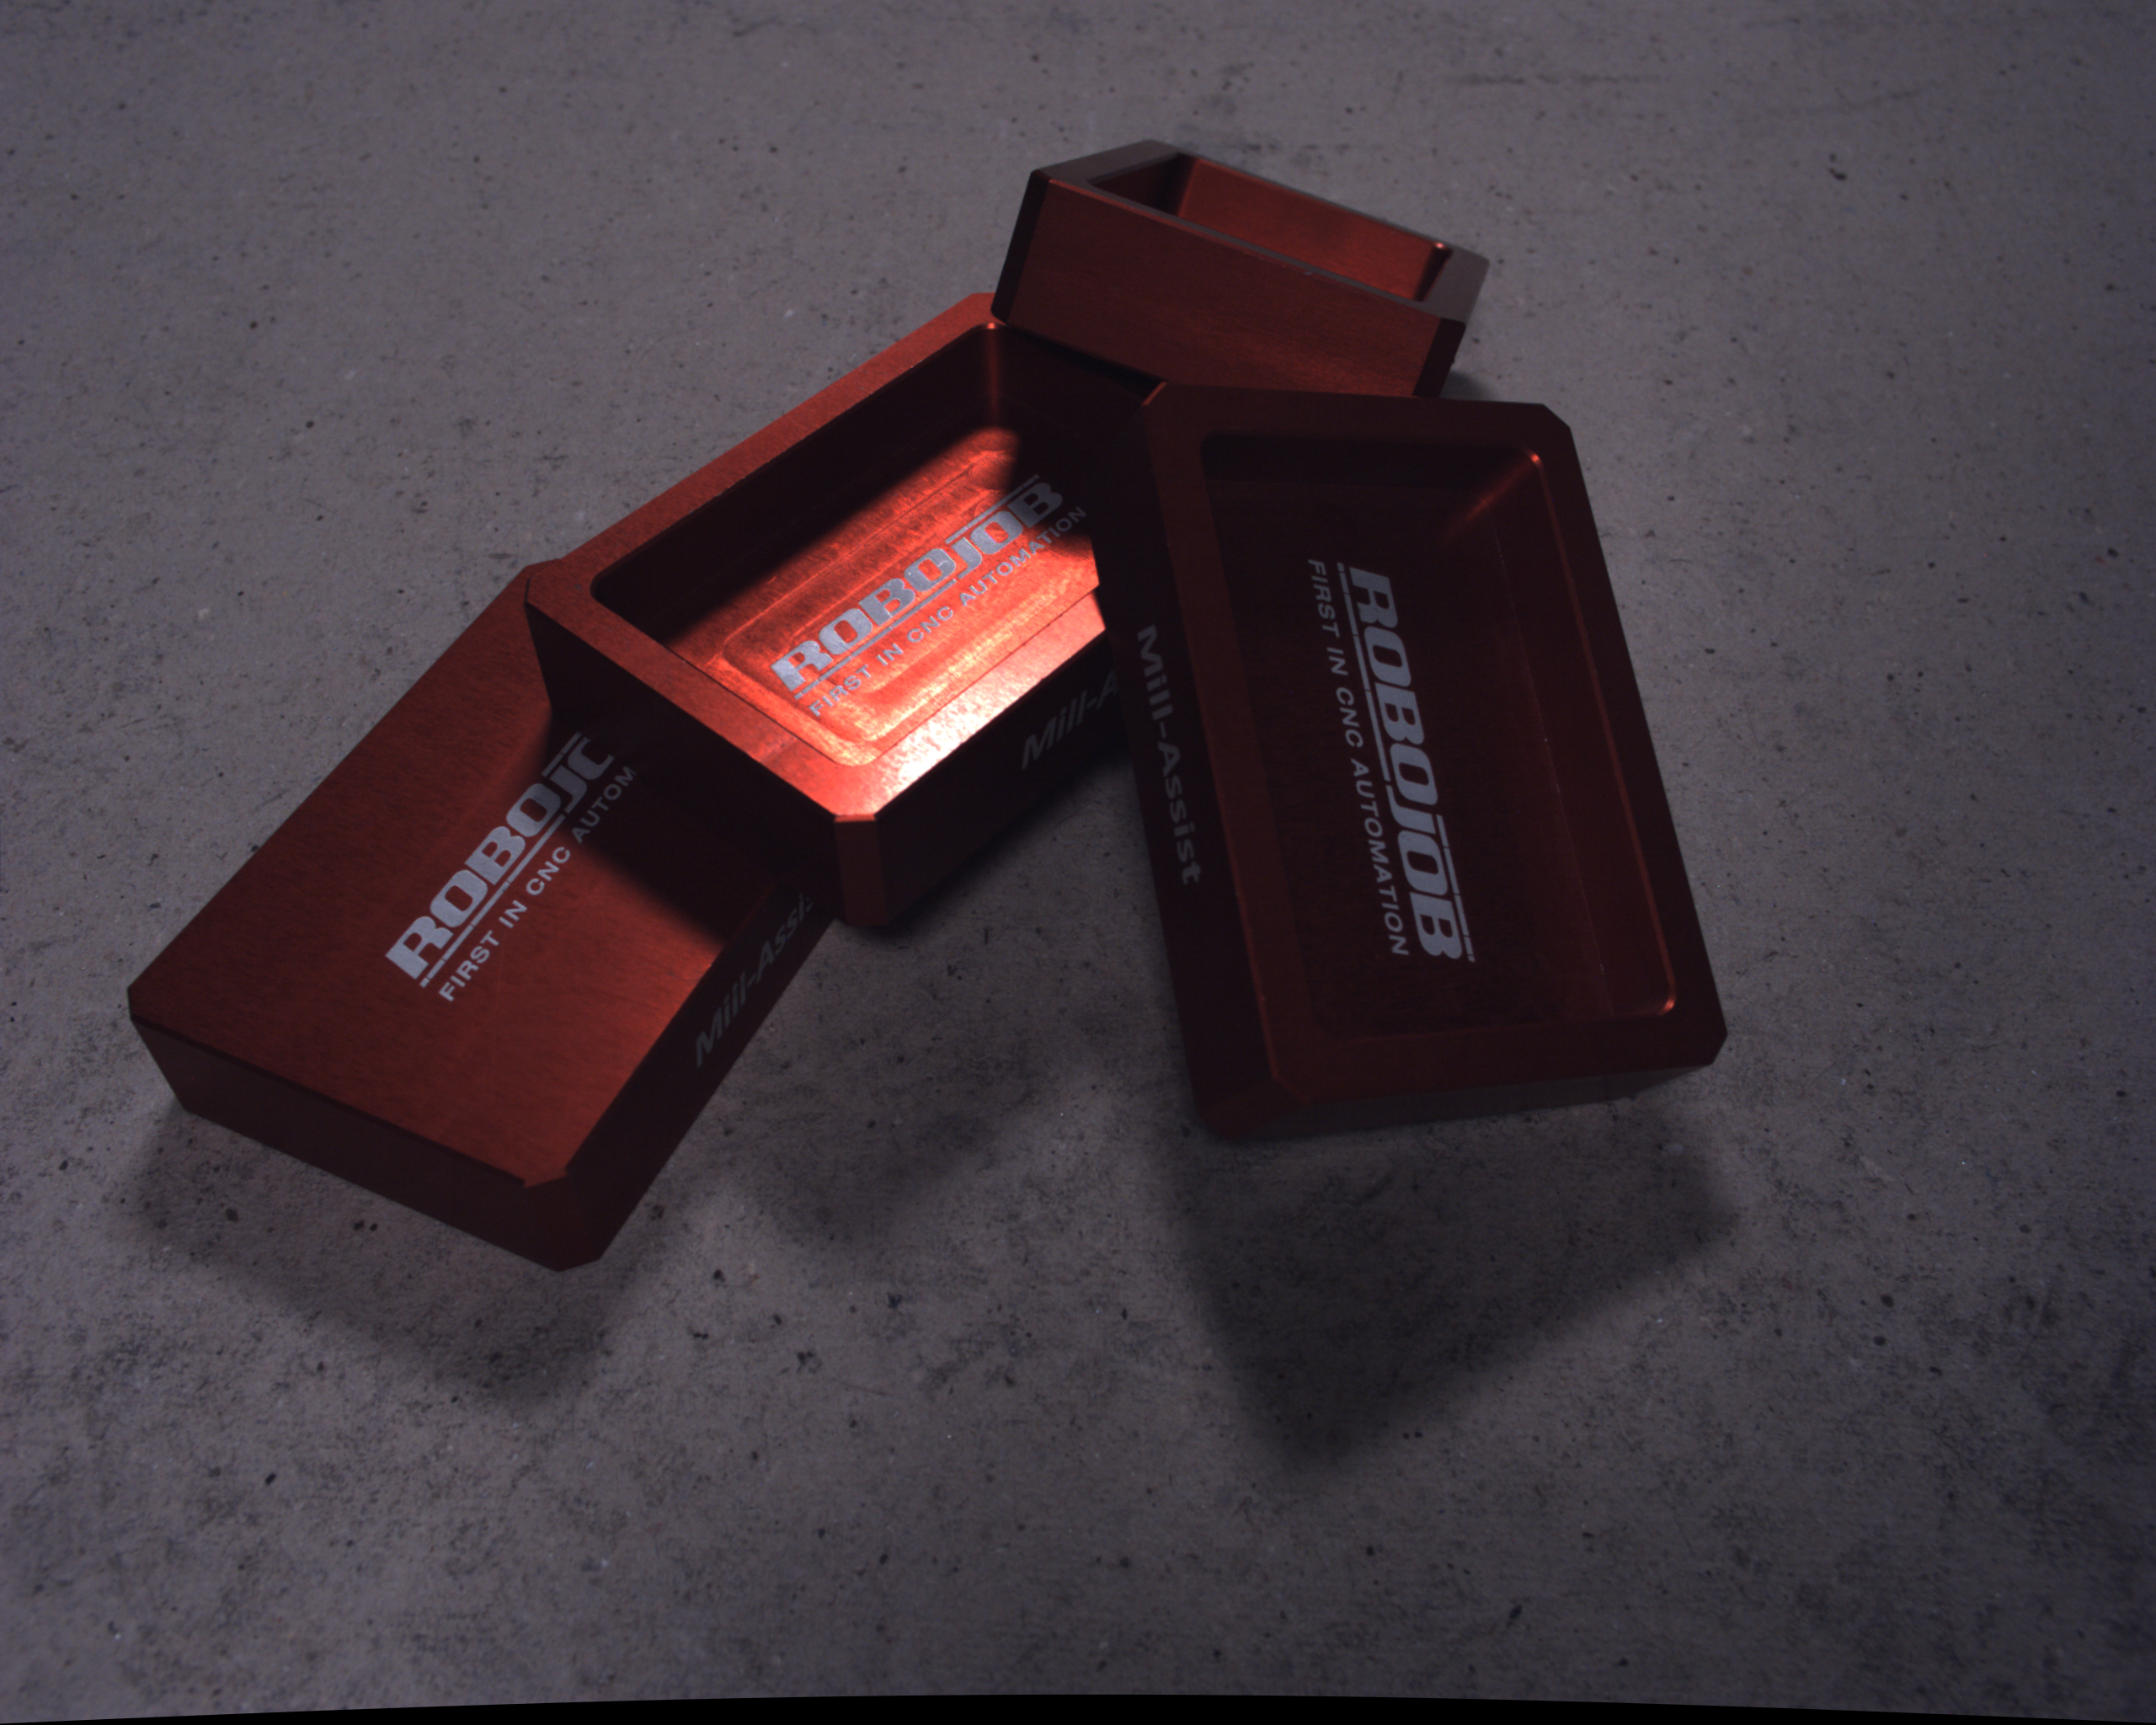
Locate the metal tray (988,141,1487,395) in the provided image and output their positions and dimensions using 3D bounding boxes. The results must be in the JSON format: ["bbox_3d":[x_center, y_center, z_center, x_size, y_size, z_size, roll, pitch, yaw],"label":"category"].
[{"bbox_3d":[0.041,-0.129,0.466,0.090,0.030,0.130,21,25,4],"label":"metal tray"}]

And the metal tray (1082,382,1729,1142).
[{"bbox_3d":[0.057,-0.020,0.375,0.091,0.030,0.129,-3,72,-24],"label":"metal tray"}]

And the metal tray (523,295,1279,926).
[{"bbox_3d":[-0.028,-0.055,0.408,0.090,0.030,0.131,34,57,25],"label":"metal tray"}]

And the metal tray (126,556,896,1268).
[{"bbox_3d":[-0.099,0.003,0.397,0.090,0.030,0.130,19,52,15],"label":"metal tray"}]

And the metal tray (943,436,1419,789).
[{"bbox_3d":[0.033,-0.070,0.460,0.130,0.030,0.090,21,53,16],"label":"metal tray"}]
